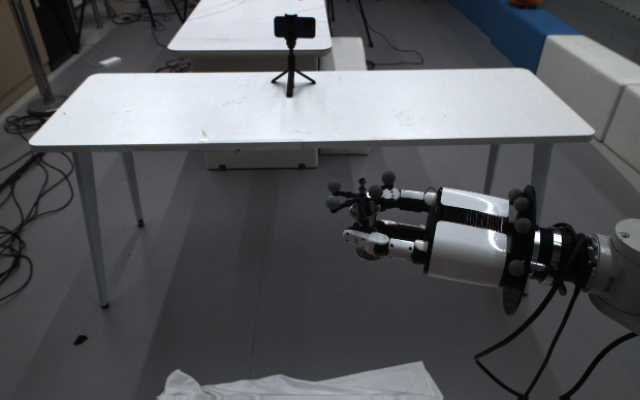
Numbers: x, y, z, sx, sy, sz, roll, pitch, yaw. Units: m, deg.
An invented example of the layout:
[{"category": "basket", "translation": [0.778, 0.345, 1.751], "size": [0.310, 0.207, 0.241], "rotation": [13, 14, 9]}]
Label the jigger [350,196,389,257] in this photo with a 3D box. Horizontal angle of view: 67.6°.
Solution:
[{"category": "jigger", "translation": [0.063, 0.038, 0.630], "size": [0.043, 0.071, 0.043], "rotation": [-10, 32, 6]}]
